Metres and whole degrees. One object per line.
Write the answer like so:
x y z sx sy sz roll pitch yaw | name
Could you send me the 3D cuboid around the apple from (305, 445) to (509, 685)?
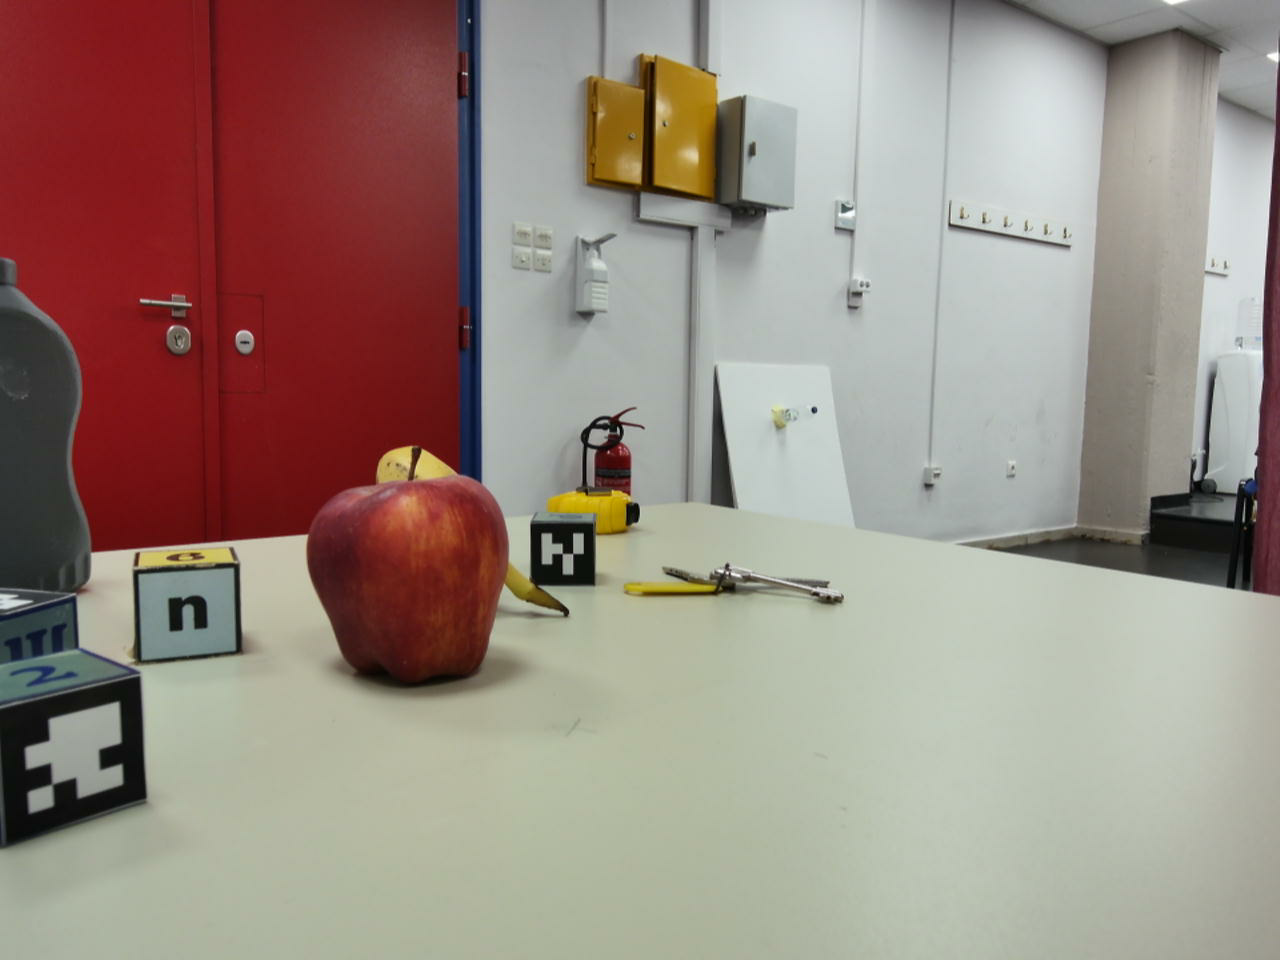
-0.092 0.032 0.401 0.083 0.090 0.083 0 4 0 | apple
